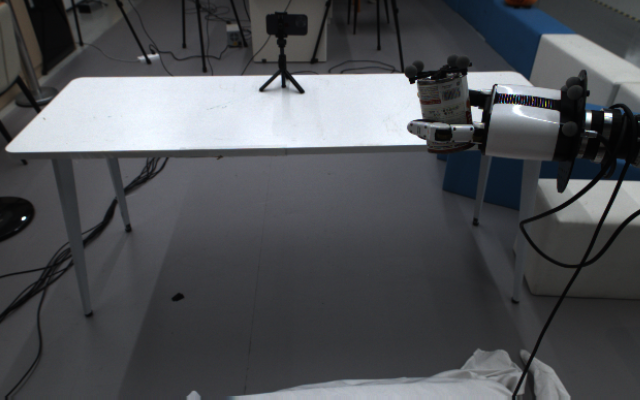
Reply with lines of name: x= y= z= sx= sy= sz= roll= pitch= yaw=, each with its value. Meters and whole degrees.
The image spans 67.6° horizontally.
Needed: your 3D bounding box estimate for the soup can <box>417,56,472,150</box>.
soup can: x=0.177 y=-0.123 z=0.672 sx=0.067 sy=0.101 sz=0.067 roll=-13 pitch=20 yaw=5
